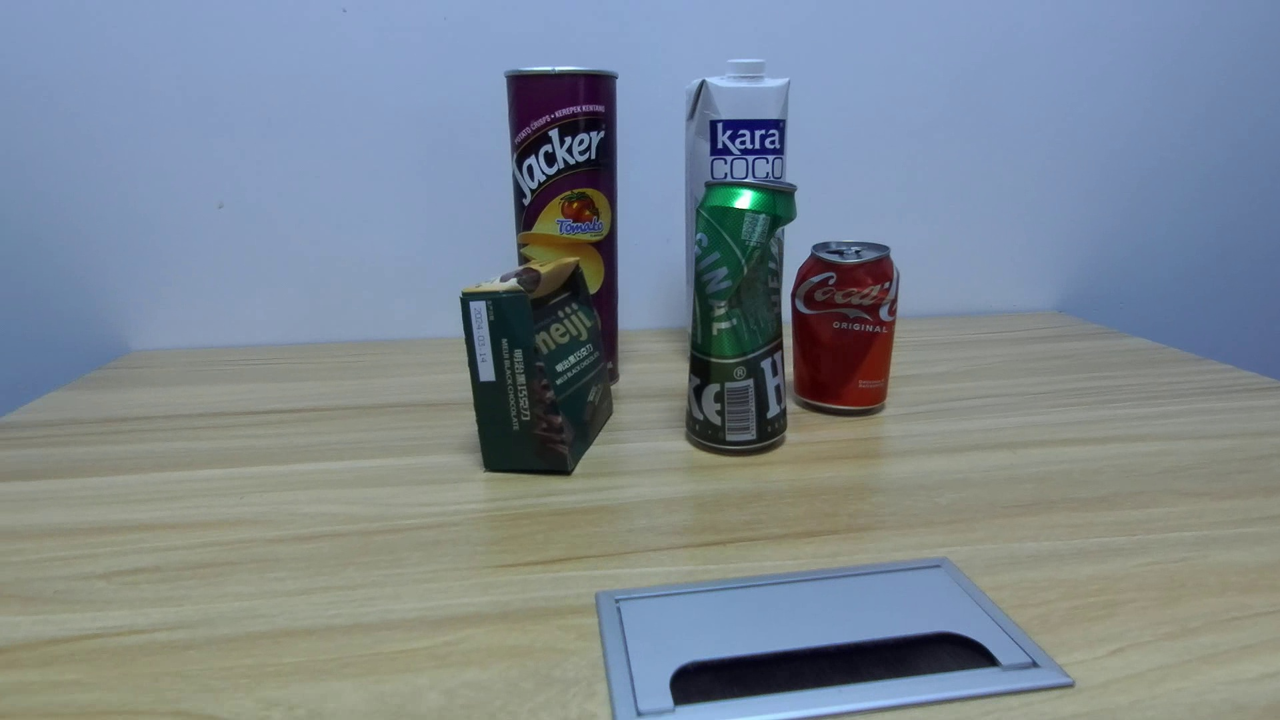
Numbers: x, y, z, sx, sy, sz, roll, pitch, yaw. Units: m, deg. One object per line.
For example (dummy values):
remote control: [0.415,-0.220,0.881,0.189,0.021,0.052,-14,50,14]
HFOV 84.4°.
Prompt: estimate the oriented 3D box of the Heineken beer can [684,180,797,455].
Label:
Heineken beer can: [0.062,-0.026,0.436,0.078,0.164,0.066,-2,15,-20]

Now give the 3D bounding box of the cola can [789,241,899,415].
cola can: [0.149,-0.024,0.506,0.072,0.117,0.066,10,19,32]

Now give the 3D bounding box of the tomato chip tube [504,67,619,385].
tomato chip tube: [-0.055,-0.096,0.549,0.080,0.234,0.077,1,13,9]

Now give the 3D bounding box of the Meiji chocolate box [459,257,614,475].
Meiji chocolate box: [-0.063,0.001,0.452,0.058,0.110,0.113,-5,13,10]

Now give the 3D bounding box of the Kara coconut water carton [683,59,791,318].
Kara coconut water carton: [0.078,-0.113,0.579,0.077,0.245,0.075,-2,15,-7]
